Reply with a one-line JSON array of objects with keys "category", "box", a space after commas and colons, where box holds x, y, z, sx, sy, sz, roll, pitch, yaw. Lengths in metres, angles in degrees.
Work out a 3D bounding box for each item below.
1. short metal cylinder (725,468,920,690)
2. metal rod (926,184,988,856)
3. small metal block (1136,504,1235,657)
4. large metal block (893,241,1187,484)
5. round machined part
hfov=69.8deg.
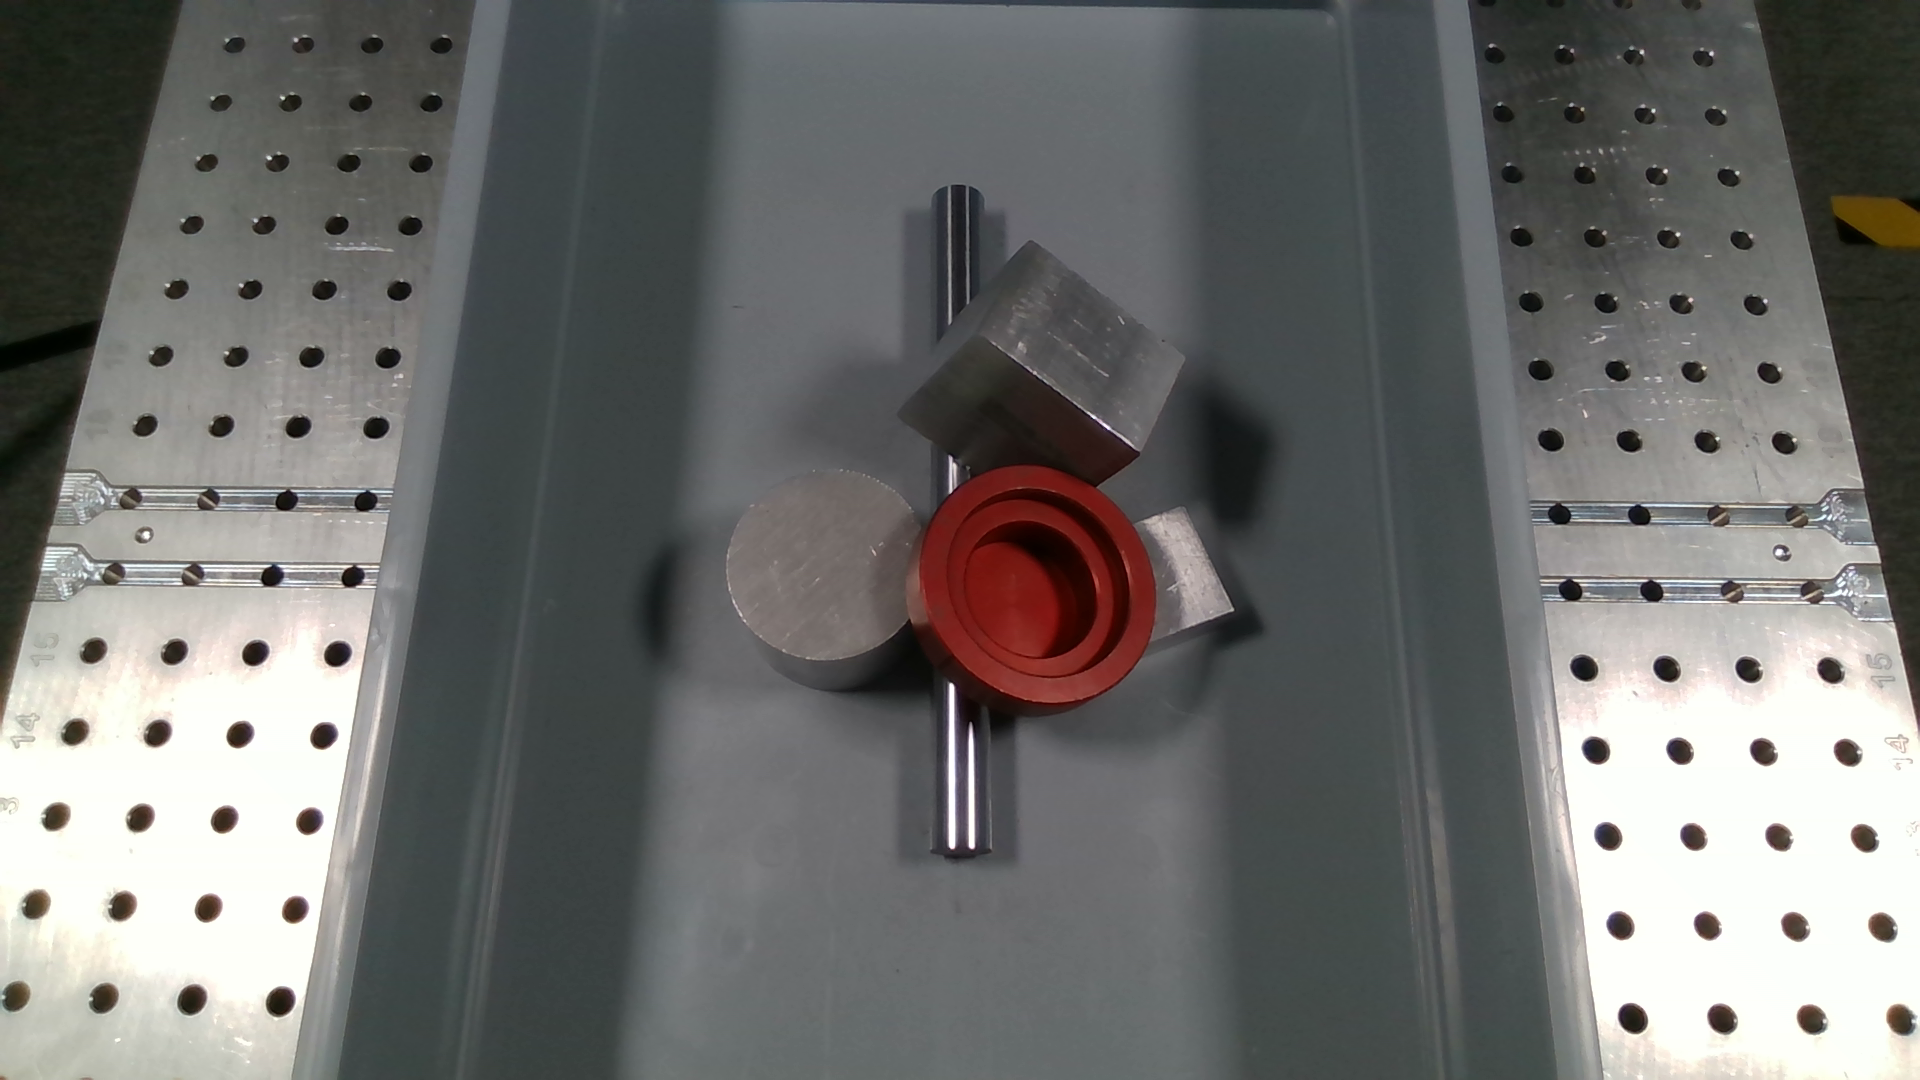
[{"category": "short metal cylinder", "box": [-0.053, 0.017, 0.567, 0.080, 0.050, 0.080, 0, 70, 0]}, {"category": "metal rod", "box": [-0.002, -0.018, 0.592, 0.025, 0.025, 0.299, 0, 70, 0]}, {"category": "small metal block", "box": [0.080, 0.020, 0.581, 0.050, 0.025, 0.050, -20, 72, -7]}, {"category": "large metal block", "box": [0.031, -0.062, 0.565, 0.080, 0.080, 0.050, 34, 60, -12]}, {"category": "round machined part", "box": [0.025, 0.023, 0.550, 0.098, 0.042, 0.098, 6, 69, -17]}]
